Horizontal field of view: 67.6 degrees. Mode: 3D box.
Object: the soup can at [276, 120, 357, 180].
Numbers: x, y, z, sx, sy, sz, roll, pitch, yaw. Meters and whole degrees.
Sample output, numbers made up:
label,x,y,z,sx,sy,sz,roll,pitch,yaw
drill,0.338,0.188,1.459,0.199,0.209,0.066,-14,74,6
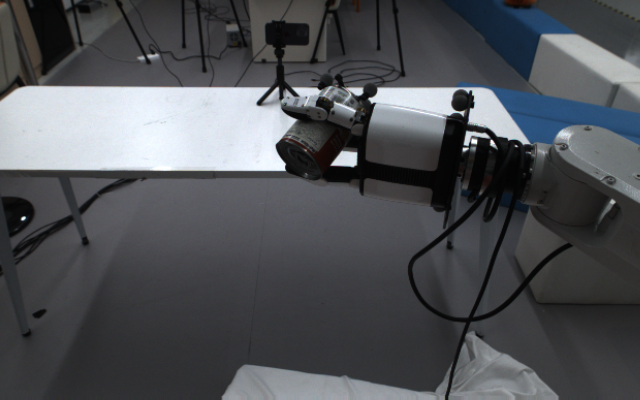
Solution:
label,x,y,z,sx,sy,sz,roll,pitch,yaw
soup can,0.003,-0.084,0.596,0.067,0.067,0.101,25,66,30
